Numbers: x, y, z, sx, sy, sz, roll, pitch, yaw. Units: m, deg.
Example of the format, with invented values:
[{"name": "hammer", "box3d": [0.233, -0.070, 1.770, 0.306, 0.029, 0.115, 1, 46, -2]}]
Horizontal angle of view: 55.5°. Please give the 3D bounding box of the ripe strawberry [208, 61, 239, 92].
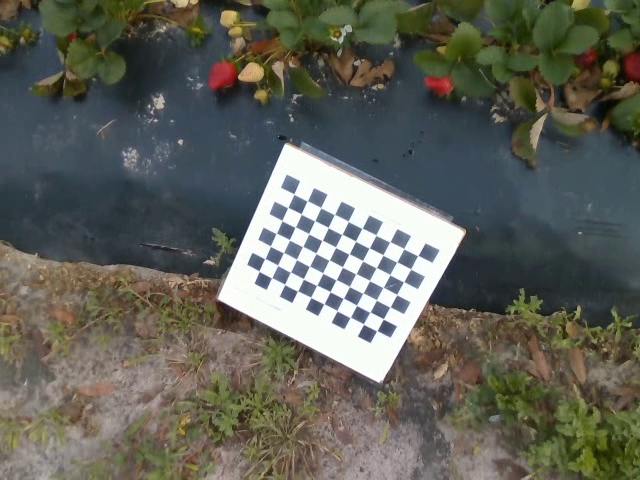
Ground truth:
[{"name": "ripe strawberry", "box3d": [-0.150, -0.249, 0.918, 0.050, 0.059, 0.034, 16, -33, 9]}]
